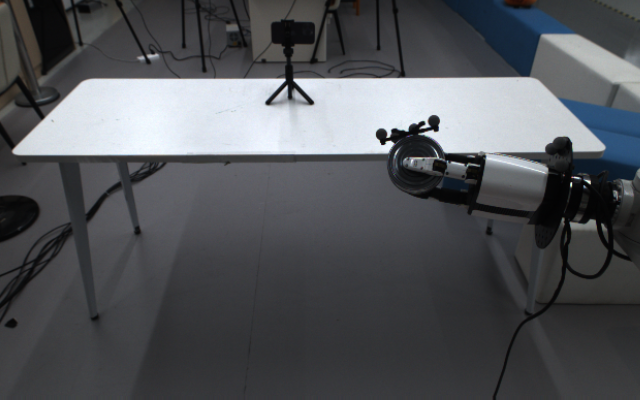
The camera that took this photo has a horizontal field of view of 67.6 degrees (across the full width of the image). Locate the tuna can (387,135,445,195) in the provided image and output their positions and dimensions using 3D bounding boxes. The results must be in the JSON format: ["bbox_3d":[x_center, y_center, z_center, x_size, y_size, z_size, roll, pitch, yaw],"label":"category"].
[{"bbox_3d":[0.144,-0.055,0.719,0.085,0.085,0.034,12,-6,14],"label":"tuna can"}]
